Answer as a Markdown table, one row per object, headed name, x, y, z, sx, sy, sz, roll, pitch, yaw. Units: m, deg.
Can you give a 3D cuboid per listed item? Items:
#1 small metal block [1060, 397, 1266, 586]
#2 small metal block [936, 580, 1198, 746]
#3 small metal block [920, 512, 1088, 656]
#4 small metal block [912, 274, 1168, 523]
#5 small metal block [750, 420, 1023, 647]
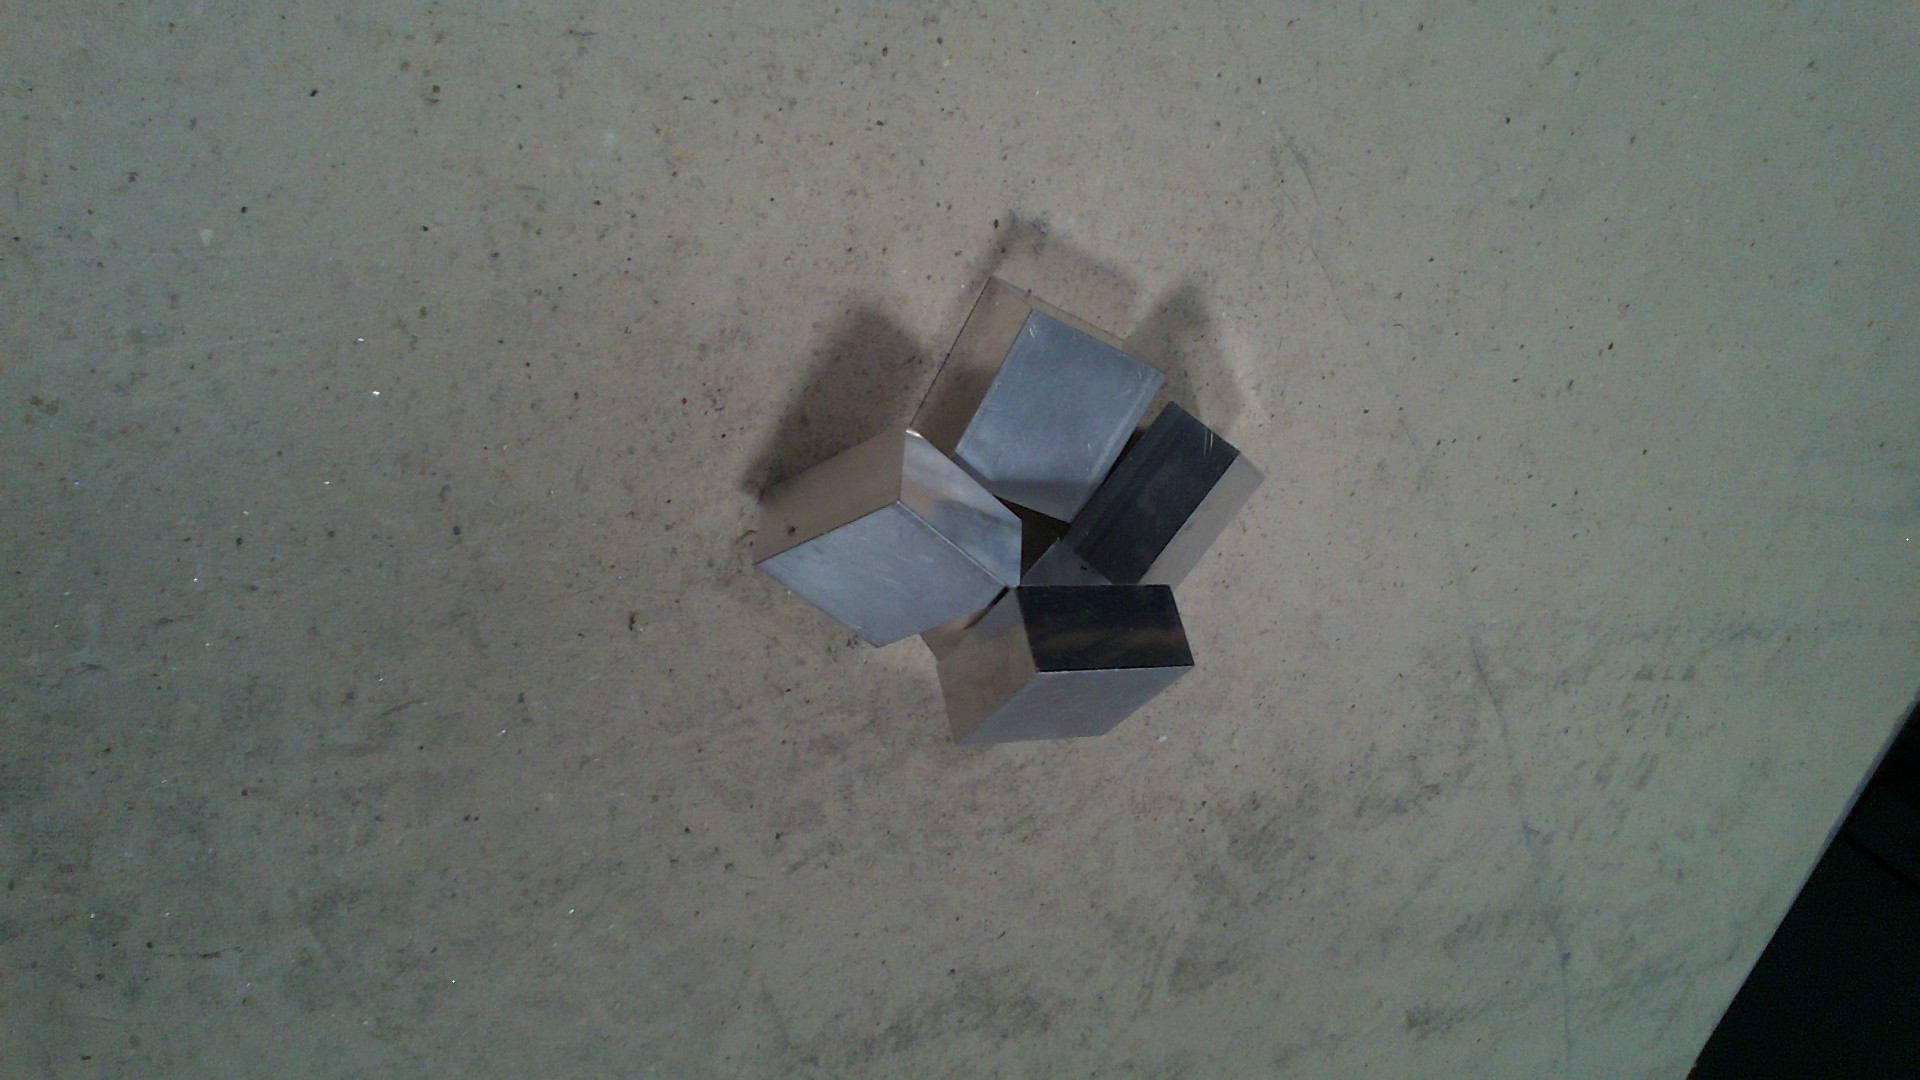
| name | x | y | z | sx | sy | sz | roll | pitch | yaw |
| --- | --- | --- | --- | --- | --- | --- | --- | --- | --- |
| small metal block | 0.061 | -0.010 | 0.402 | 0.050 | 0.025 | 0.050 | -52 | 162 | 9 |
| small metal block | 0.028 | 0.034 | 0.379 | 0.050 | 0.025 | 0.050 | 0 | 151 | -28 |
| small metal block | 0.022 | 0.023 | 0.416 | 0.050 | 0.025 | 0.050 | -48 | 129 | 6 |
| small metal block | 0.020 | -0.038 | 0.378 | 0.050 | 0.025 | 0.050 | 19 | 109 | -35 |
| small metal block | -0.019 | 0.000 | 0.364 | 0.050 | 0.025 | 0.050 | -22 | 138 | 31 |
